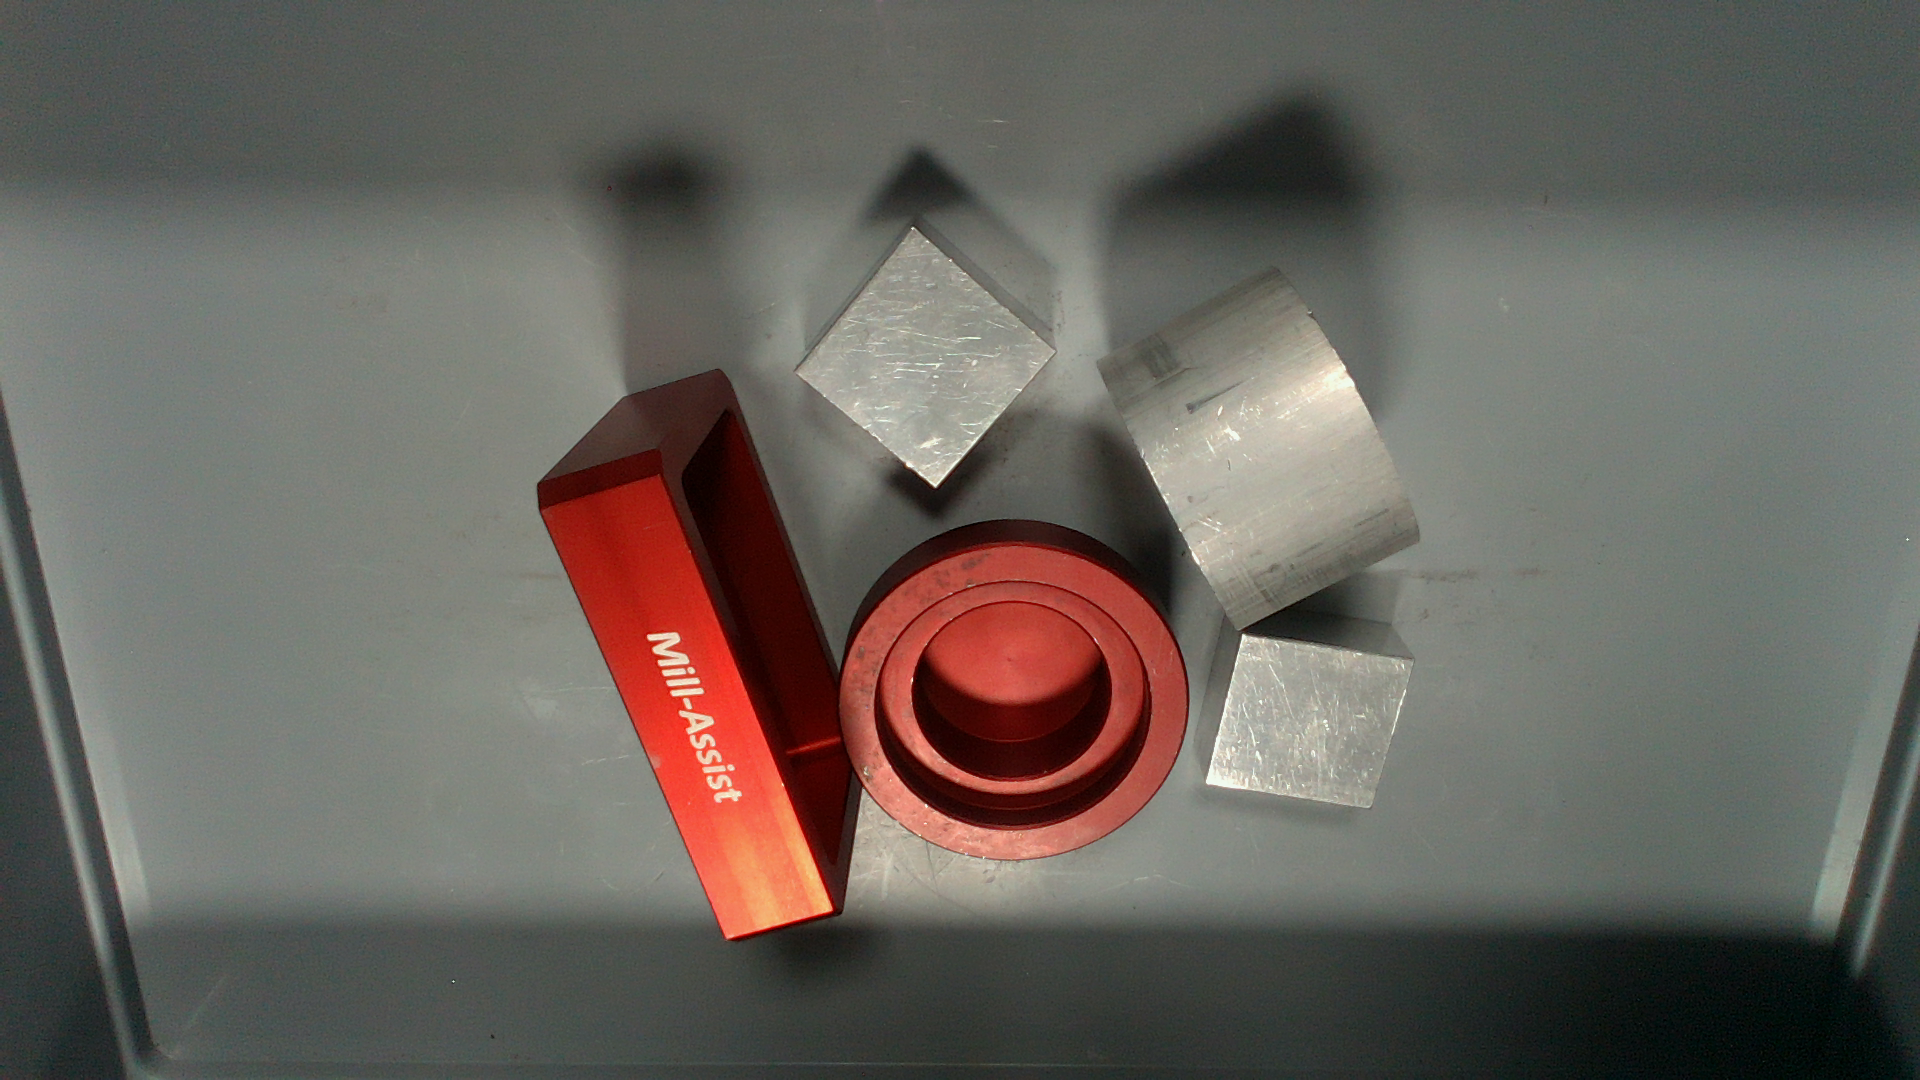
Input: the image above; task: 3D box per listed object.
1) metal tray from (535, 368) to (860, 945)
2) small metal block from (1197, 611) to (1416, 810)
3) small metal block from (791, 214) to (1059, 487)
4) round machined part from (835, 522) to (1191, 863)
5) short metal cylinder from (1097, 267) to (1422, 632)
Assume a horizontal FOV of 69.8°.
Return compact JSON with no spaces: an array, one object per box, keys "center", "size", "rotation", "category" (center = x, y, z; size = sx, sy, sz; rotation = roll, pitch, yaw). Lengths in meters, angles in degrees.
[{"center":[-0.063,0.028,0.368],"size":[0.030,0.090,0.130],"rotation":[-16,109,6],"category":"metal tray"},{"center":[0.102,0.049,0.411],"size":[0.050,0.025,0.050],"rotation":[9,109,-2],"category":"small metal block"},{"center":[-0.009,-0.052,0.373],"size":[0.050,0.025,0.050],"rotation":[39,106,-12],"category":"small metal block"},{"center":[0.015,0.040,0.397],"size":[0.098,0.042,0.098],"rotation":[0,110,0],"category":"round machined part"},{"center":[0.076,-0.023,0.355],"size":[0.050,0.080,0.080],"rotation":[-28,108,10],"category":"short metal cylinder"}]
